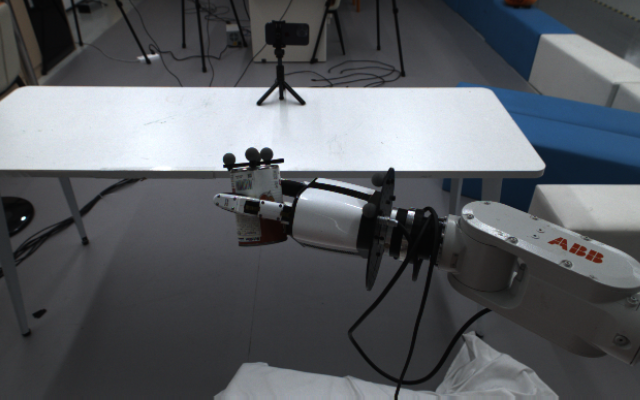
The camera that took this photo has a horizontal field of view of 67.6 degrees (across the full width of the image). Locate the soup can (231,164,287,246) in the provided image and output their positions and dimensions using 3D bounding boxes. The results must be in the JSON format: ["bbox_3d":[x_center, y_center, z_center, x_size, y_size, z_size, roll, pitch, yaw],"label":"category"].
[{"bbox_3d":[-0.081,0.008,0.649,0.067,0.101,0.067,-7,3,0],"label":"soup can"}]
